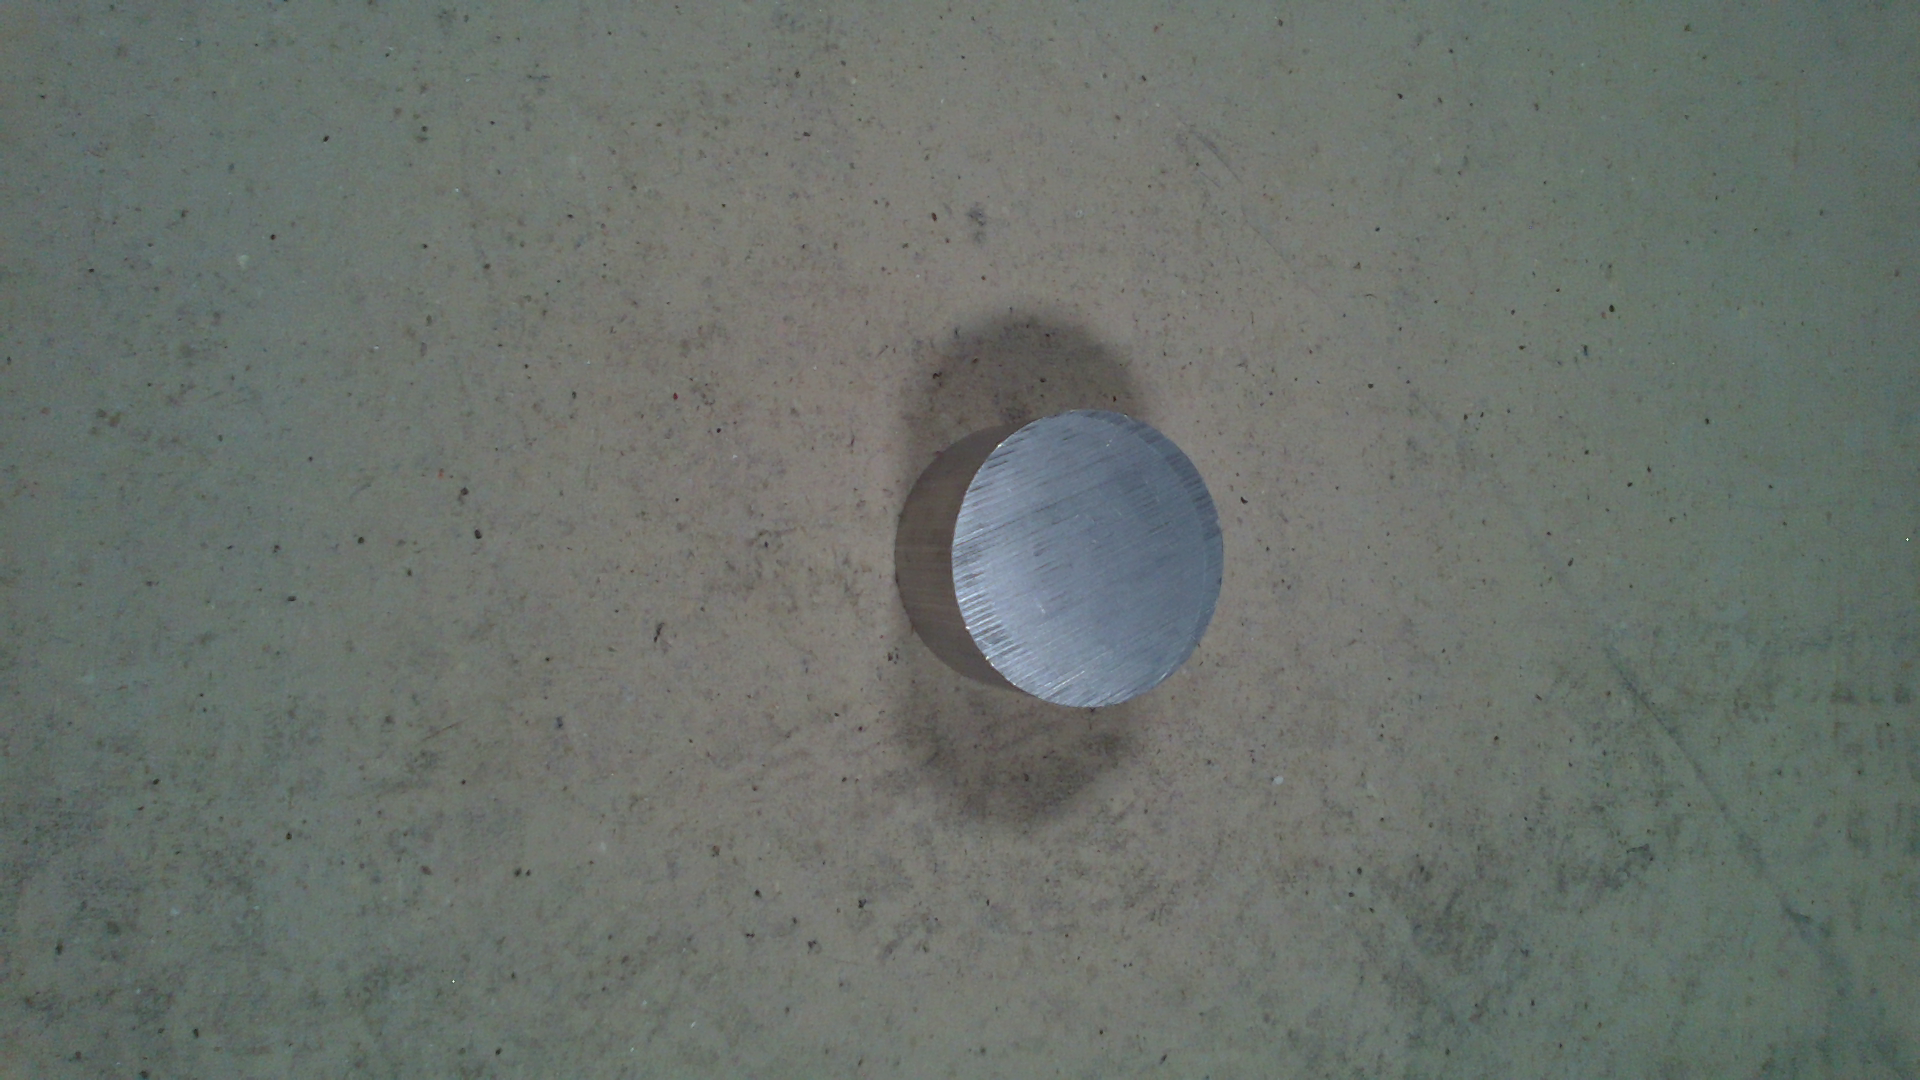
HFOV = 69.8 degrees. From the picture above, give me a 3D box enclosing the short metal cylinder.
[{"bbox_3d":[0.027,0.005,0.390,0.080,0.050,0.080,0,90,-20],"label":"short metal cylinder"}]
